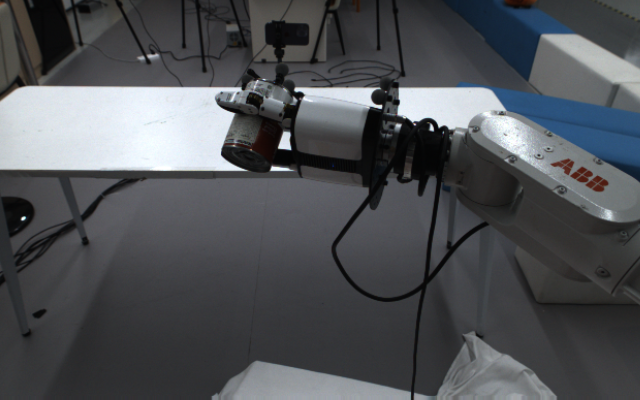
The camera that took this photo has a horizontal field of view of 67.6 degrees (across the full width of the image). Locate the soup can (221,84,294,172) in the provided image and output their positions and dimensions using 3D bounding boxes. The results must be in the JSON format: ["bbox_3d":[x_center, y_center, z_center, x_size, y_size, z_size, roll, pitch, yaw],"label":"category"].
[{"bbox_3d":[-0.080,-0.096,0.623,0.067,0.067,0.101,12,70,14],"label":"soup can"}]
